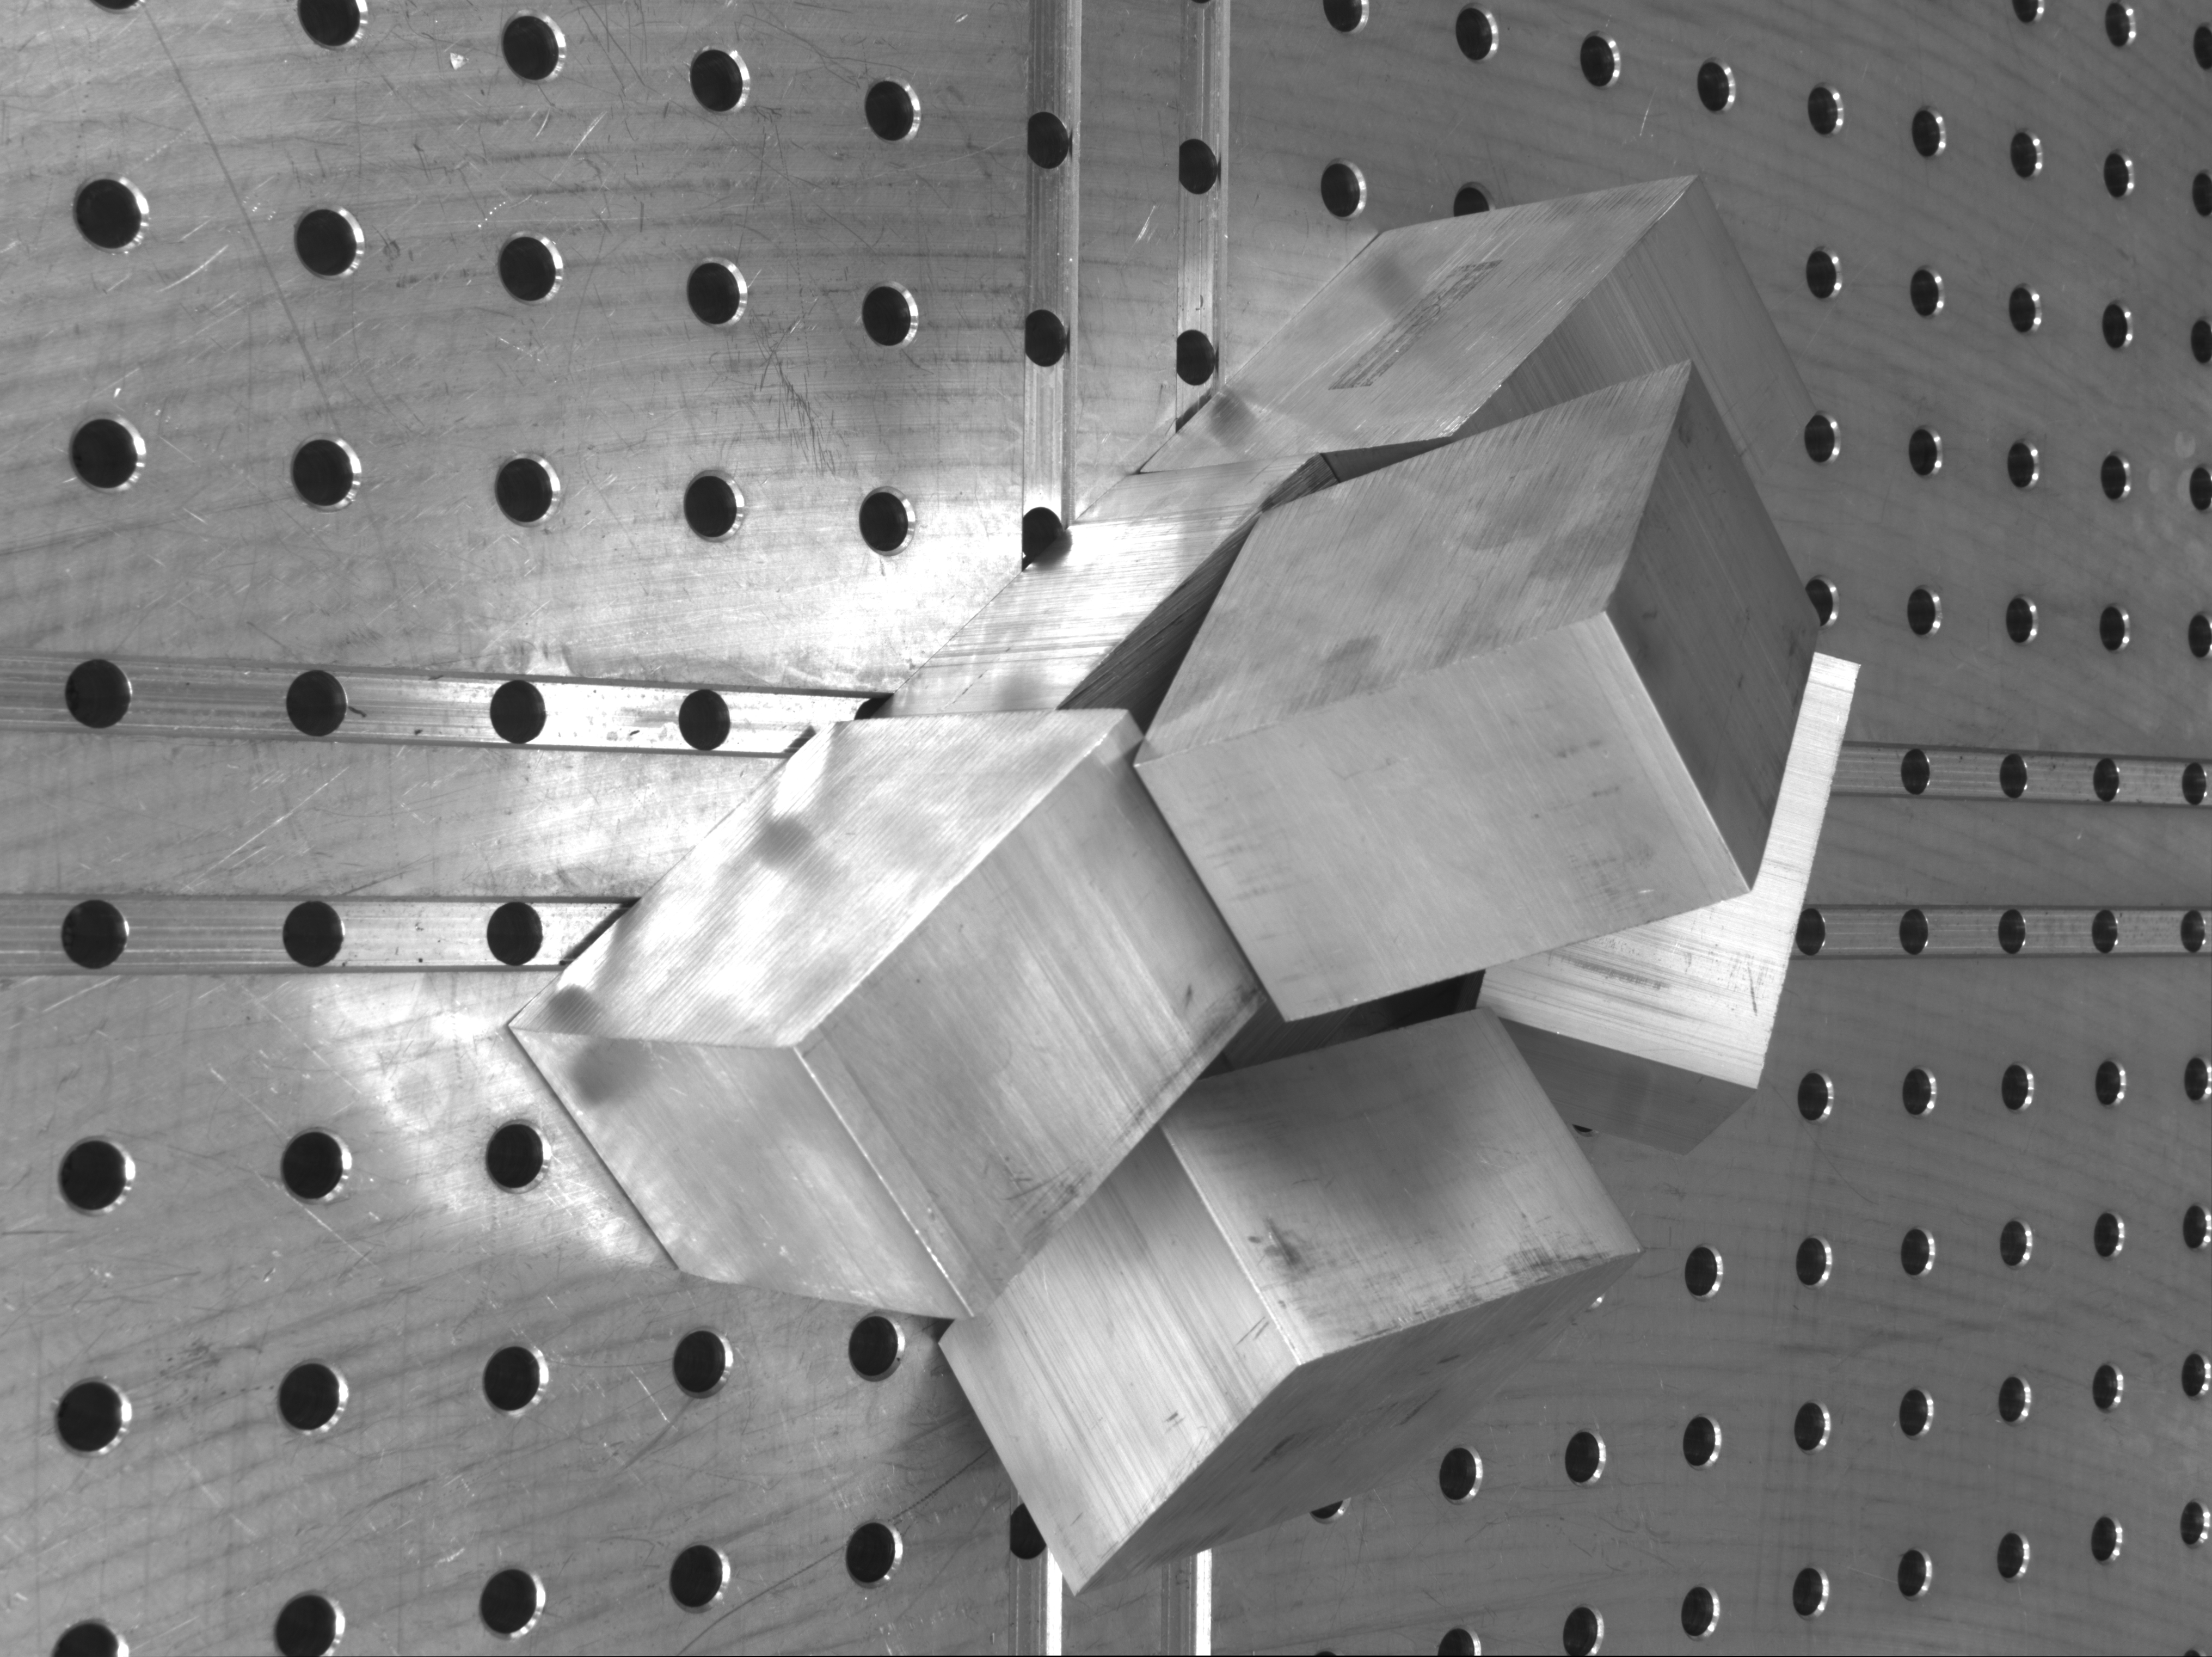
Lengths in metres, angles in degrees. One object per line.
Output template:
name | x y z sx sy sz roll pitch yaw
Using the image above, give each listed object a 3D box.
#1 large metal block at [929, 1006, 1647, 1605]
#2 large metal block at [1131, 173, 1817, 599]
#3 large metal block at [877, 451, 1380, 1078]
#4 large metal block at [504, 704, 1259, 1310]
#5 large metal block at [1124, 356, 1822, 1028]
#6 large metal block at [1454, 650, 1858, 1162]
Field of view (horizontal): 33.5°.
large metal block | 0.030 0.080 0.619 0.080 0.080 0.050 -11 60 -39
large metal block | 0.066 -0.069 0.658 0.080 0.080 0.050 -47 118 -30
large metal block | 0.014 -0.008 0.636 0.080 0.050 0.080 -47 118 -30
large metal block | -0.033 0.026 0.575 0.080 0.080 0.050 -46 117 -30
large metal block | 0.059 -0.022 0.571 0.050 0.080 0.080 59 31 -23
large metal block | 0.097 0.011 0.675 0.050 0.080 0.080 15 77 3
